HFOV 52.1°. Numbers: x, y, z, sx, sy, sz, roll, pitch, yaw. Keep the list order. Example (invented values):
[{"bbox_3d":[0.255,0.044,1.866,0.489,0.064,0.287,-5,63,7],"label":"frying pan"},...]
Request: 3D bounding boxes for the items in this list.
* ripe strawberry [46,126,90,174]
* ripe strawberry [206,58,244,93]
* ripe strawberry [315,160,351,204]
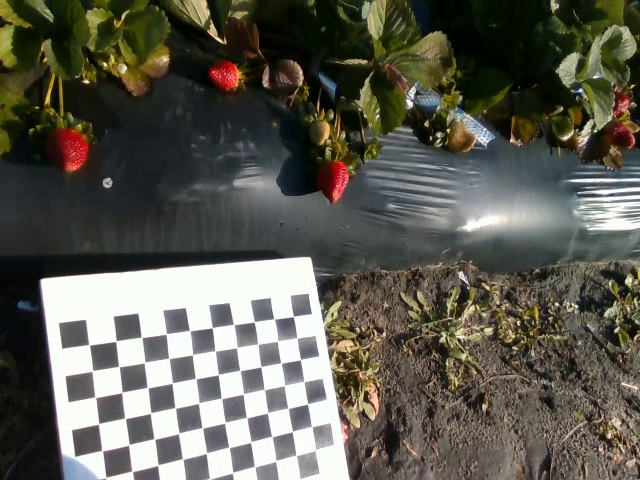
[{"bbox_3d":[-0.232,-0.080,0.600,0.045,0.055,0.042,7,-49,-34],"label":"ripe strawberry"},{"bbox_3d":[-0.104,-0.180,0.699,0.046,0.035,0.035,-1,-14,-41],"label":"ripe strawberry"},{"bbox_3d":[0.013,-0.064,0.704,0.042,0.059,0.042,22,-36,-28],"label":"ripe strawberry"}]
